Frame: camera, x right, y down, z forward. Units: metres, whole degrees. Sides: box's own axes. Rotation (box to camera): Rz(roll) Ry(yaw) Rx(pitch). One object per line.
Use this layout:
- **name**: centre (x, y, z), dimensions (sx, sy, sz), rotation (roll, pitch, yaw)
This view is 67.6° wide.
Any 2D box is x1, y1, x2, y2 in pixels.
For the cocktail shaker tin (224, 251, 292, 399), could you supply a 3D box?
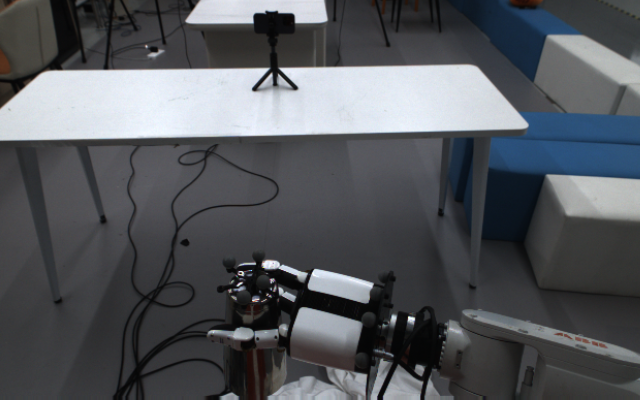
- **cocktail shaker tin**: centre (-0.089, 0.179, 0.666), dimensions (0.093, 0.170, 0.093), rotation (3, 33, -2)
